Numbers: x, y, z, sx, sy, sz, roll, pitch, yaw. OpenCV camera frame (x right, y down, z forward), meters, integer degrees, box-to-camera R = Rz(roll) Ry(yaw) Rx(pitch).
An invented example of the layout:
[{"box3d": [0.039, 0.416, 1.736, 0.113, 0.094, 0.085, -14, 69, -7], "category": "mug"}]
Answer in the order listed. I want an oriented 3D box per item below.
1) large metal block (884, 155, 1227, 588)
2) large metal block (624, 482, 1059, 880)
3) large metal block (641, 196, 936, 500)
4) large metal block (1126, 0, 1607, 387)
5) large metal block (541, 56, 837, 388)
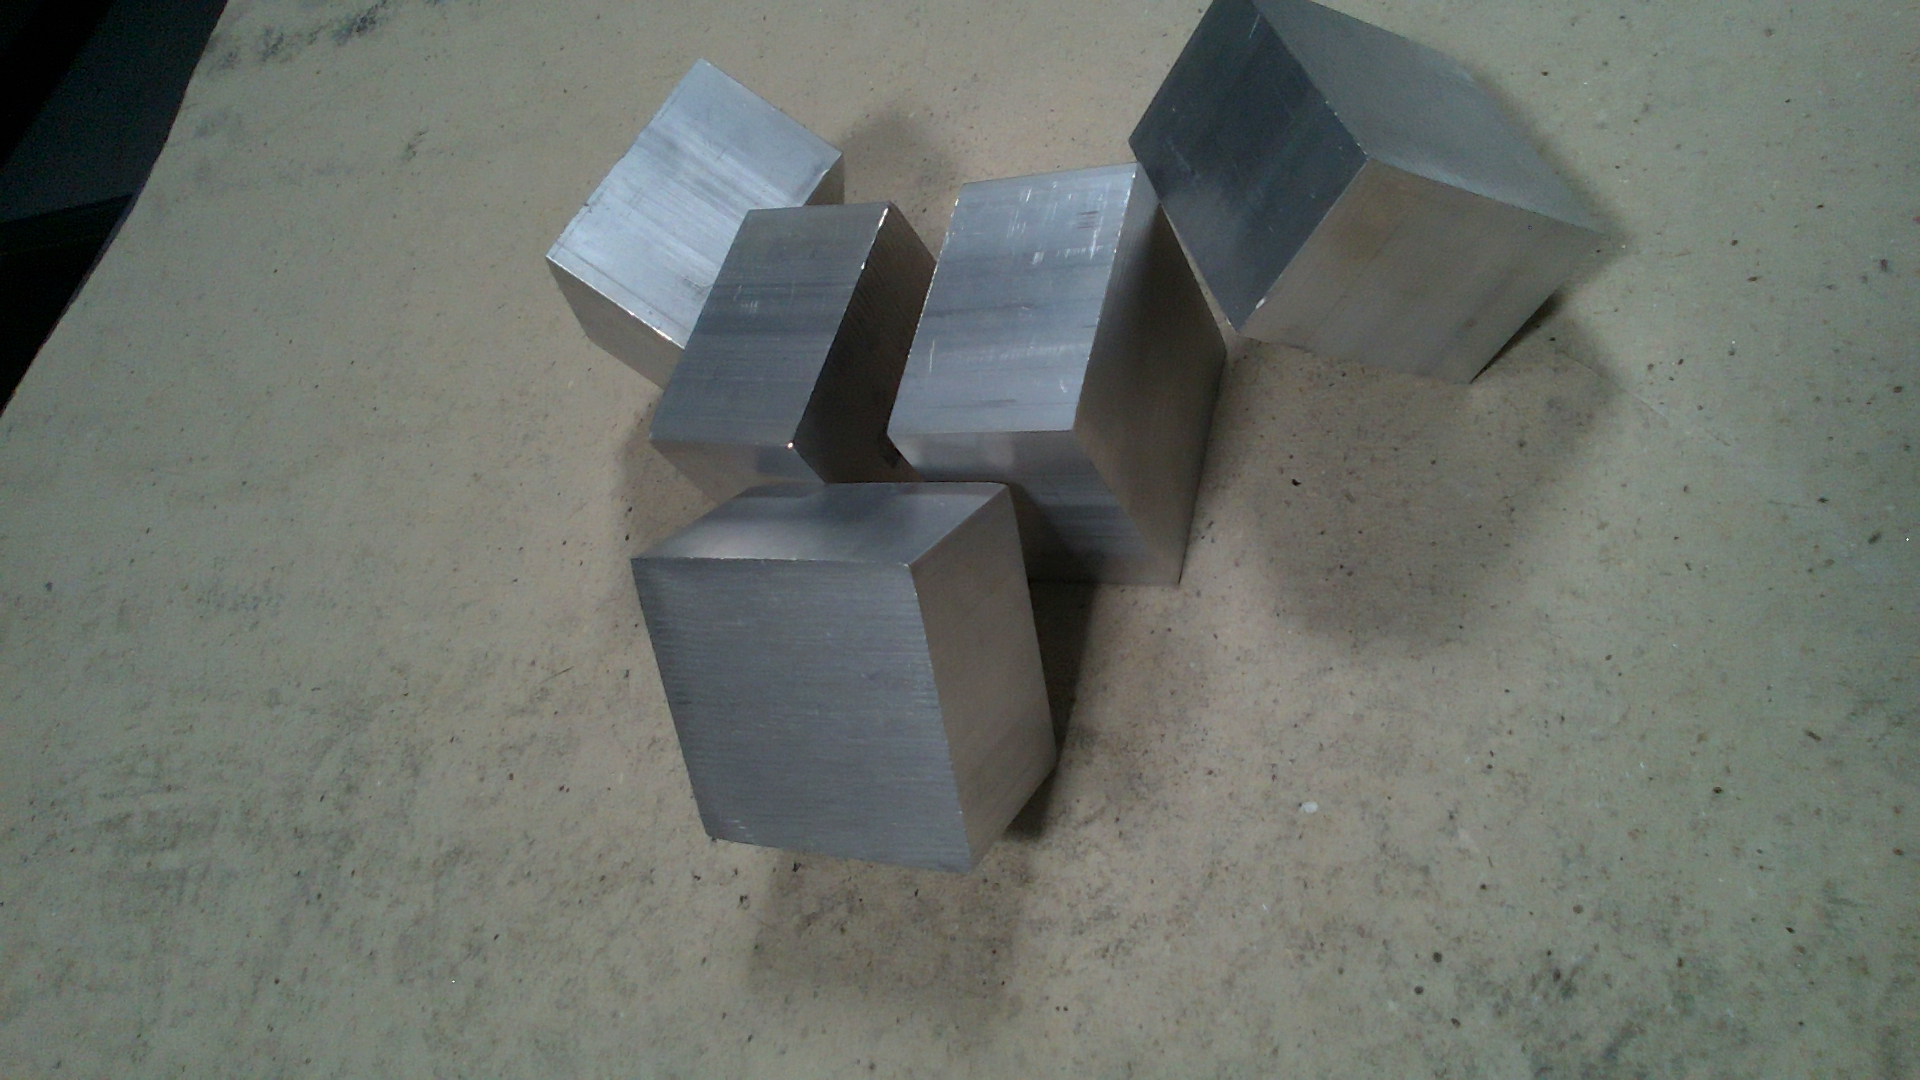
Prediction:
[{"box3d": [0.030, -0.042, 0.368, 0.050, 0.080, 0.080, 1, 62, 29], "category": "large metal block"}, {"box3d": [-0.028, 0.032, 0.346, 0.080, 0.080, 0.050, 1, 23, 29], "category": "large metal block"}, {"box3d": [-0.036, -0.042, 0.404, 0.050, 0.080, 0.080, 5, 64, 31], "category": "large metal block"}, {"box3d": [0.100, -0.091, 0.352, 0.050, 0.080, 0.080, -57, 39, 38], "category": "large metal block"}, {"box3d": [-0.083, -0.094, 0.450, 0.050, 0.080, 0.080, 34, 78, 2], "category": "large metal block"}]
